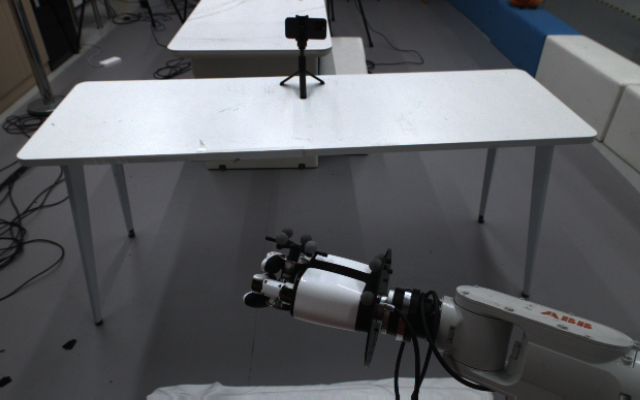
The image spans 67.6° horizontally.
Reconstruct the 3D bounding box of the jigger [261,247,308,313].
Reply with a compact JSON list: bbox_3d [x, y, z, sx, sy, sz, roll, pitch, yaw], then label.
[{"bbox_3d":[-0.045,0.113,0.669,0.043,0.071,0.043,17,2,-1],"label":"jigger"}]
